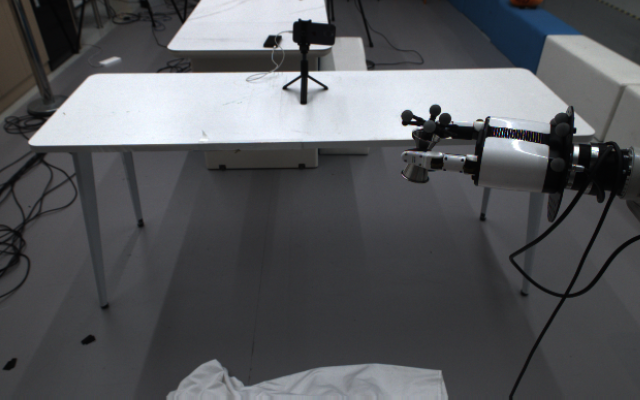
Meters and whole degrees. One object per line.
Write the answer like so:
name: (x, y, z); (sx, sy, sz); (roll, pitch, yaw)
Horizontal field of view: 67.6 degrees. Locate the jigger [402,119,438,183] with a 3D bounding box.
jigger: (0.149, -0.065, 0.721); (0.043, 0.071, 0.043); (9, 30, -5)
